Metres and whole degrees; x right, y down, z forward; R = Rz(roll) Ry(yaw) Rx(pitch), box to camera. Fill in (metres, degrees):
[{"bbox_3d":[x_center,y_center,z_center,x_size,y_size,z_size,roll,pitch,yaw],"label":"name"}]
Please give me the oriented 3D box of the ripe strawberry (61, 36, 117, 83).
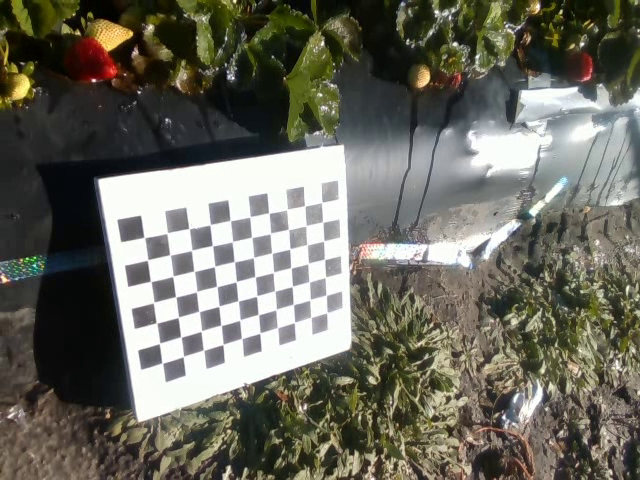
[{"bbox_3d":[-0.188,-0.149,0.538,0.053,0.040,0.042,30,-20,28],"label":"ripe strawberry"}]
